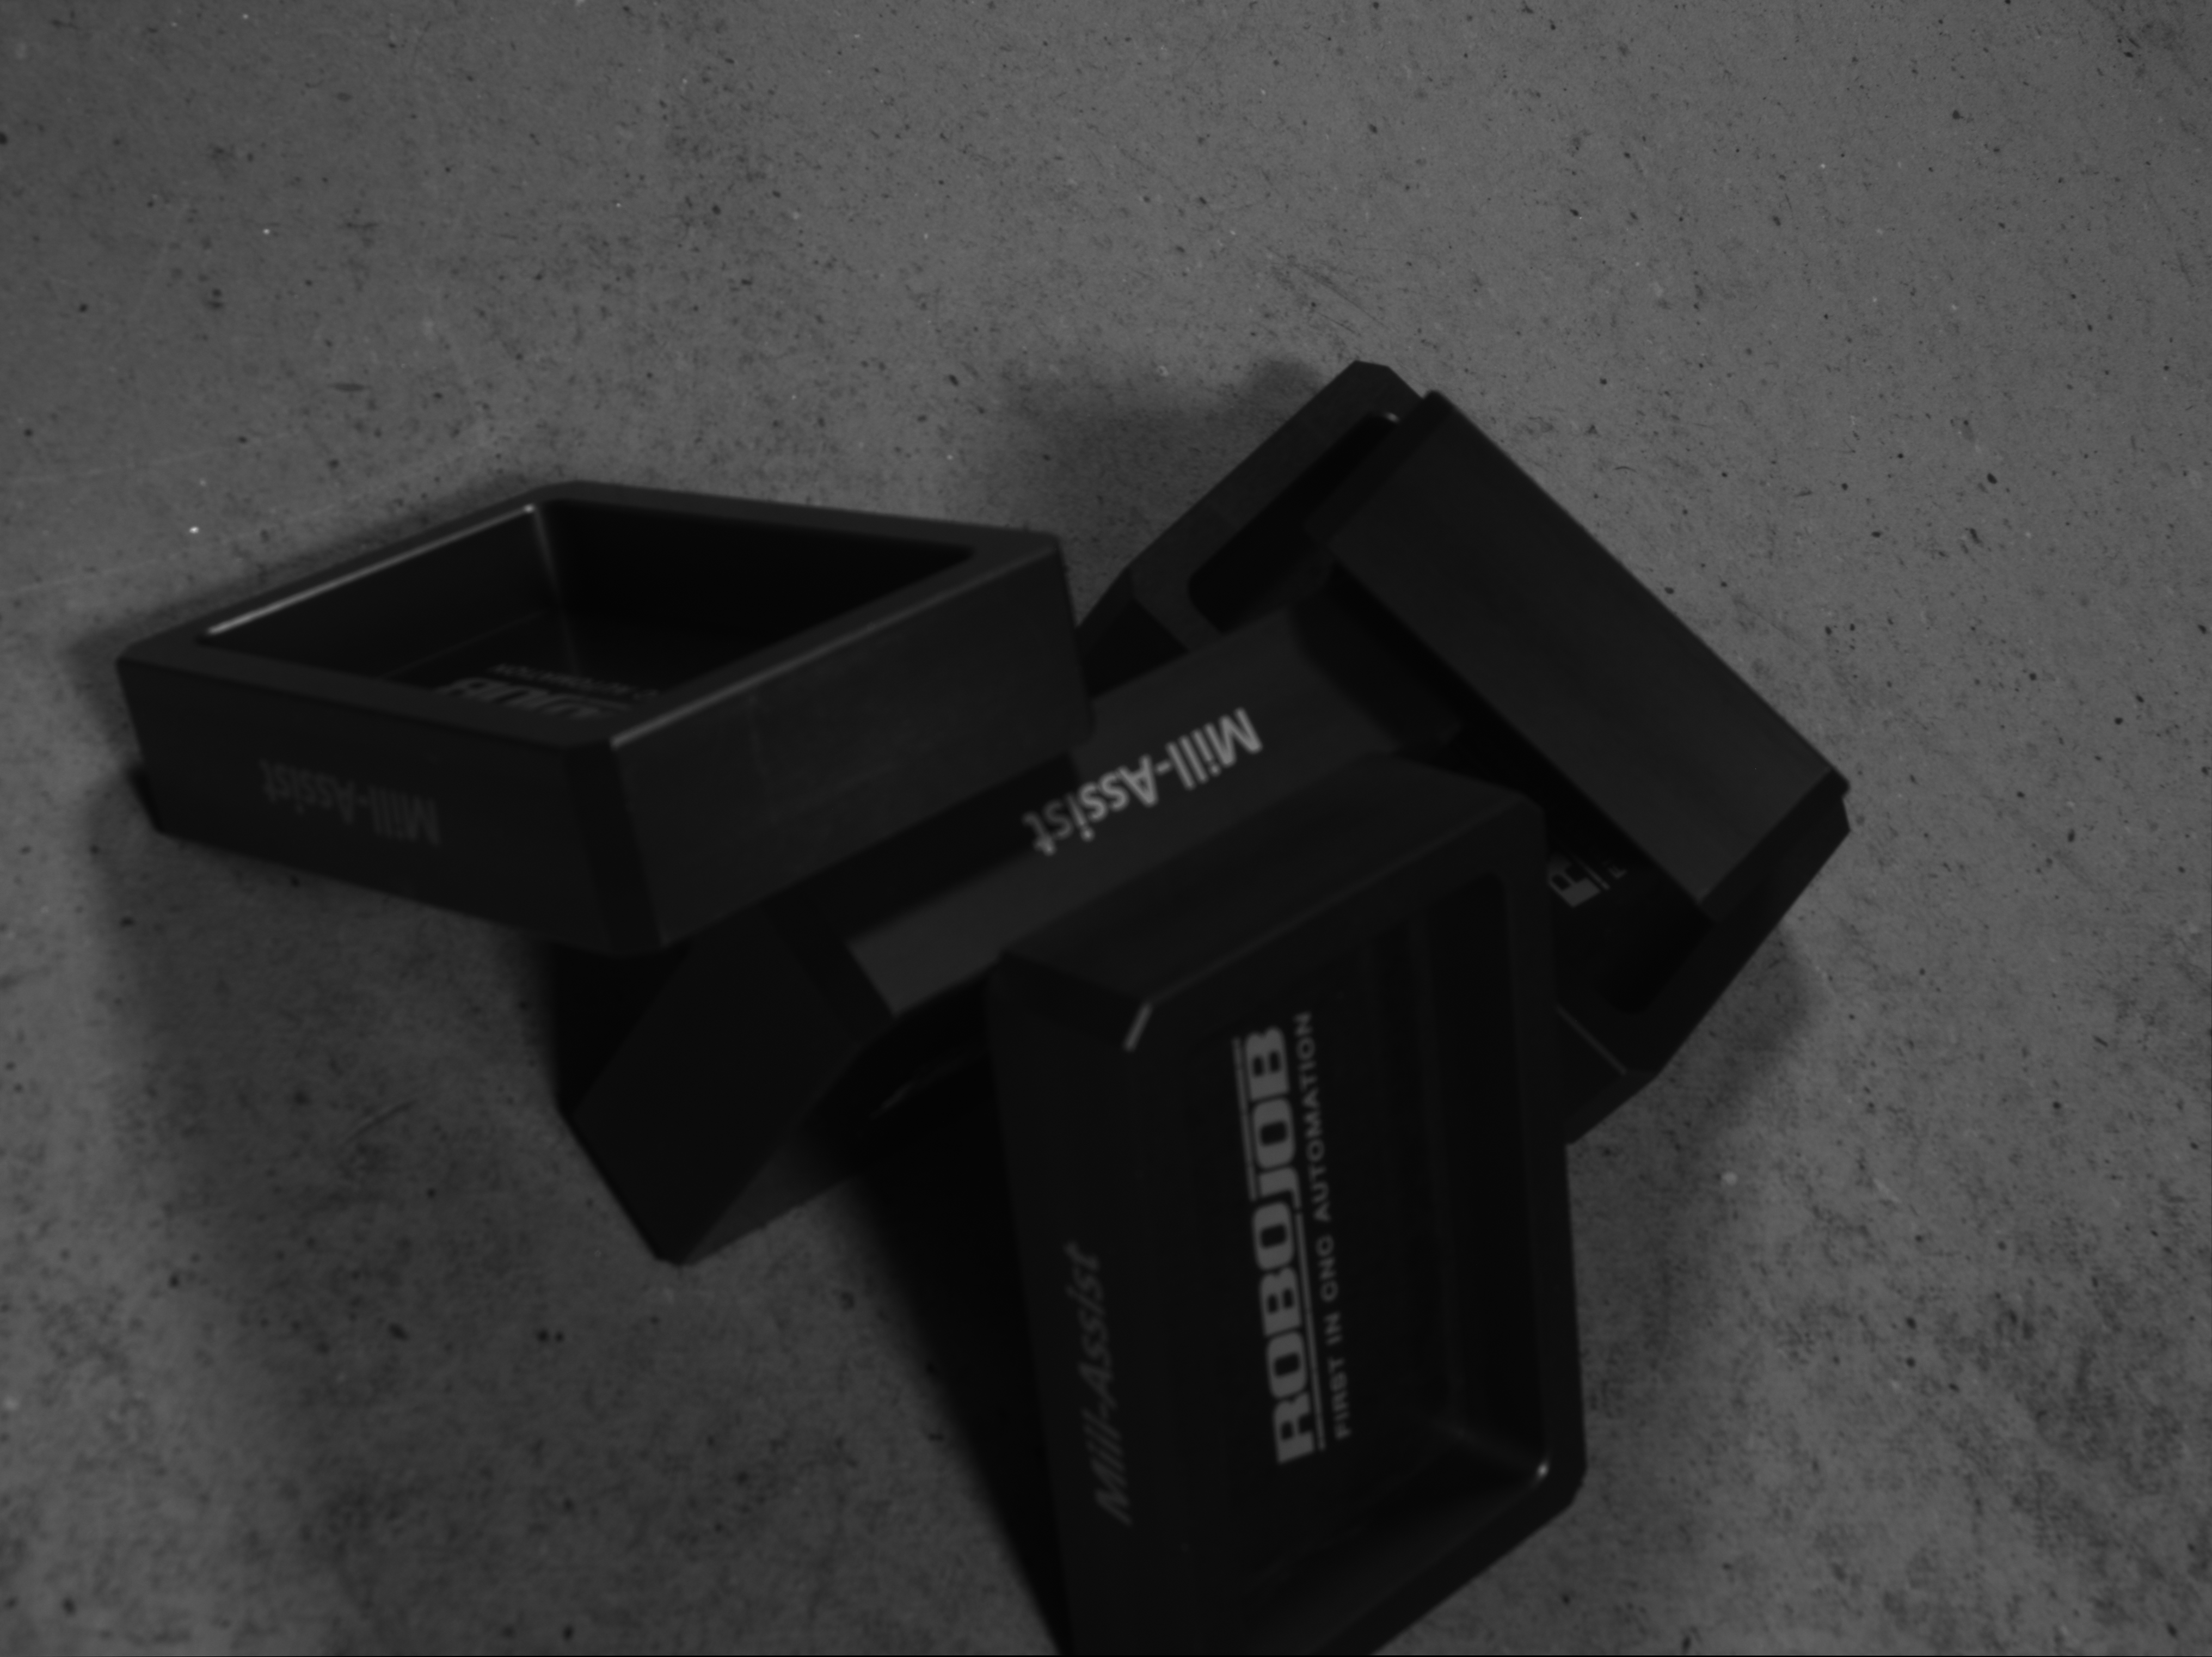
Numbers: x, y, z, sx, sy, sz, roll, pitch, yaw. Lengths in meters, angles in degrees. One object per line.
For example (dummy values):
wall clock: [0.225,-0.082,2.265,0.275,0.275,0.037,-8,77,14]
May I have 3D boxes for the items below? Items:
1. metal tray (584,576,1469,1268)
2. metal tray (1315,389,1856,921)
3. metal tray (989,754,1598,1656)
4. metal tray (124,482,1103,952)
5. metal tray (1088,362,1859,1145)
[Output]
metal tray: [-0.012,0.014,0.583,0.130,0.090,0.030,-28,77,-37]
metal tray: [0.081,-0.030,0.630,0.090,0.030,0.130,44,6,2]
metal tray: [0.032,0.065,0.561,0.090,0.030,0.130,-27,121,-37]
metal tray: [-0.076,-0.021,0.551,0.090,0.130,0.030,-27,115,-37]
metal tray: [0.068,-0.016,0.683,0.130,0.030,0.090,44,51,2]
